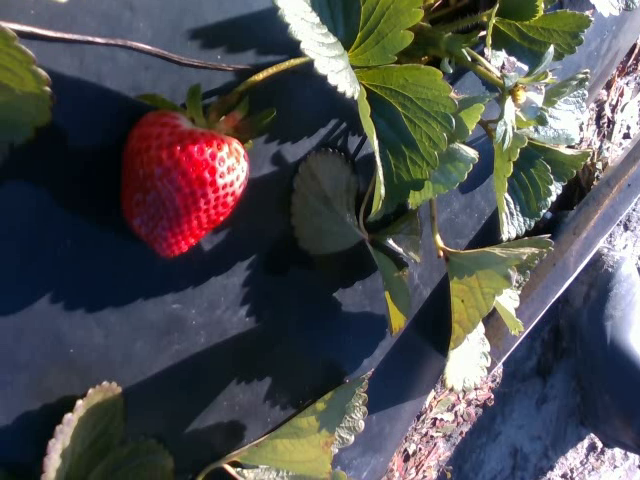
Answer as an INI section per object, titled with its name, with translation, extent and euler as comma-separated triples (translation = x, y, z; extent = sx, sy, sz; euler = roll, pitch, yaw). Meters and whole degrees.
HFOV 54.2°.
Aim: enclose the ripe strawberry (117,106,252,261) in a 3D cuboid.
[ripe strawberry]
translation = -0.044, -0.019, 0.196
extent = 0.045, 0.055, 0.042
euler = 19, -4, 11
